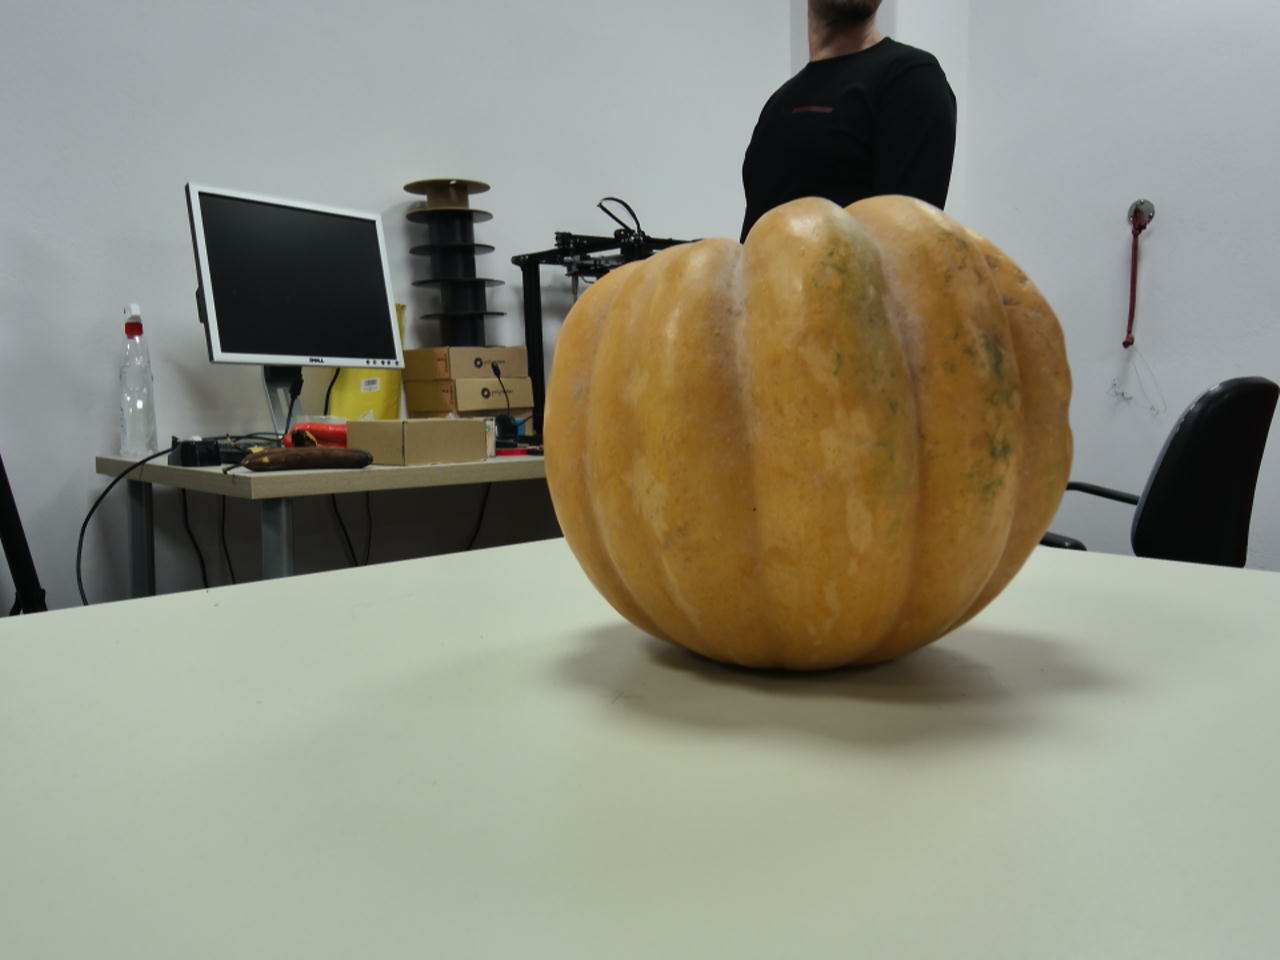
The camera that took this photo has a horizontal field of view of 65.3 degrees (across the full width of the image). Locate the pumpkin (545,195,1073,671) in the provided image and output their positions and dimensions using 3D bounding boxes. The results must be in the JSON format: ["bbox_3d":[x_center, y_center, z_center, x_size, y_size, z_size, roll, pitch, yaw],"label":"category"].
[{"bbox_3d":[0.071,-0.017,0.451,0.230,0.194,0.230,1,3,0],"label":"pumpkin"}]
